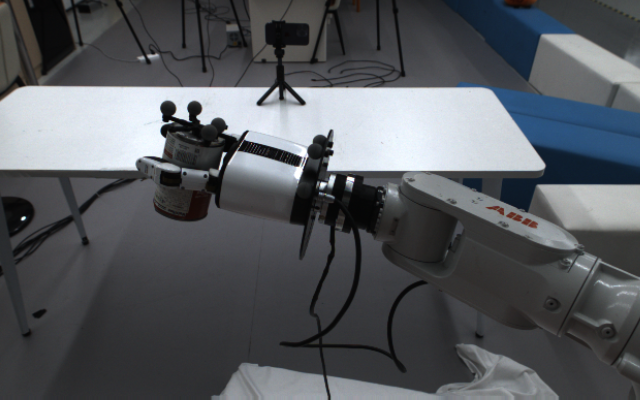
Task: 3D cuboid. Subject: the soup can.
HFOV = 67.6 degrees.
[{"bbox_3d":[-0.156,-0.033,0.580,0.067,0.101,0.067,17,22,-7],"label":"soup can"}]
